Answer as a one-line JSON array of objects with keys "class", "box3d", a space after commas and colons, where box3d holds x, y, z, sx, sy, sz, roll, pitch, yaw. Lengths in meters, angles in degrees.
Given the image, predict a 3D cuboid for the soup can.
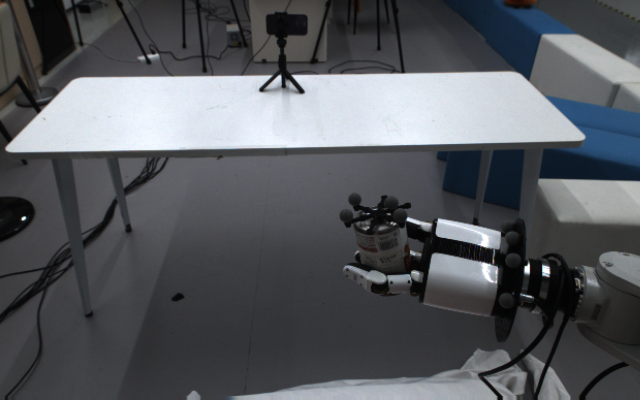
[{"class": "soup can", "box3d": [0.087, 0.066, 0.637, 0.067, 0.101, 0.067, -11, 28, 6]}]
